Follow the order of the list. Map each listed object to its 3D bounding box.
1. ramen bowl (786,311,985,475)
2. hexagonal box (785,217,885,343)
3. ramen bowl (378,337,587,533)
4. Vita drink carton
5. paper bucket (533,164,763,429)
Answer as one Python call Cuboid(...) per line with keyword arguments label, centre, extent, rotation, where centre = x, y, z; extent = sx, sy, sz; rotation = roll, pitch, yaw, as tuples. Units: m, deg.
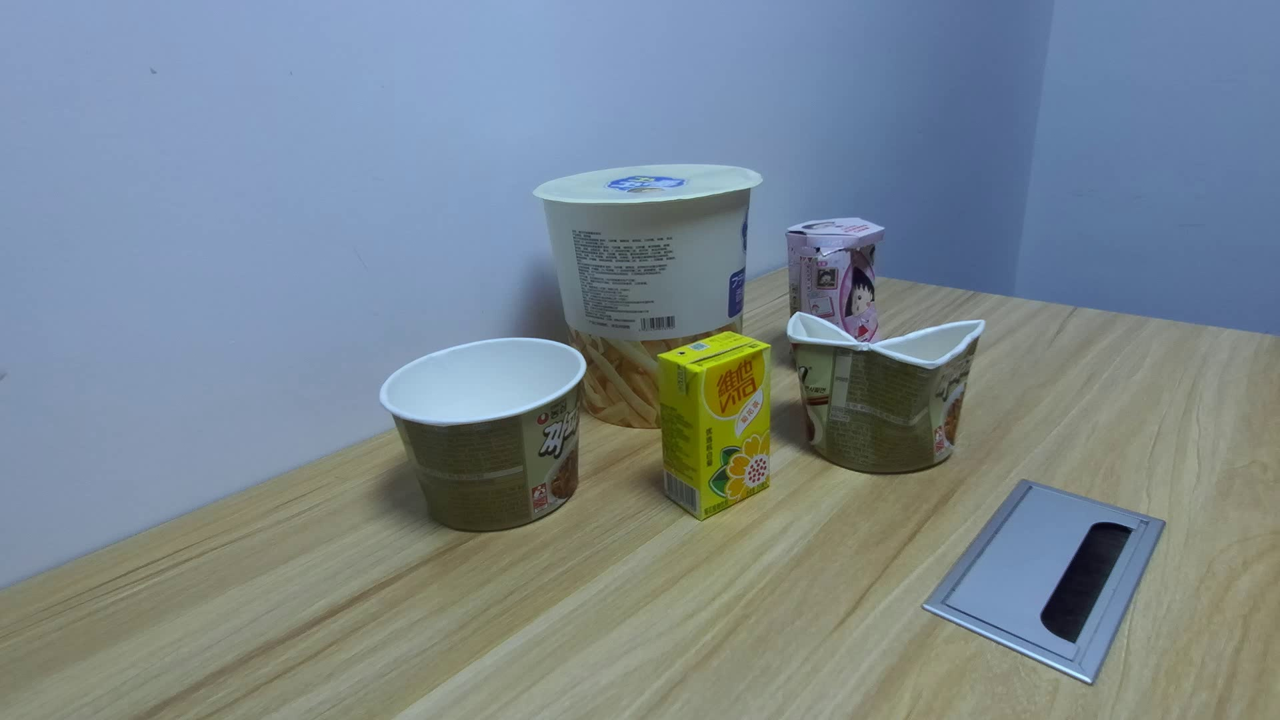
Cuboid(label="ramen bowl", centre=(0.176, 0.017, 0.536), extent=(0.127, 0.093, 0.112), rotation=(14, 29, 36))
Cuboid(label="hexagonal box", centre=(0.182, -0.061, 0.675), extent=(0.091, 0.134, 0.090), rotation=(-5, 19, -2))
Cuboid(label="ramen bowl", centre=(-0.104, 0.053, 0.507), extent=(0.140, 0.095, 0.140), rotation=(-3, 23, 1))
Cuboid(label="Vita drink carton", centre=(0.051, 0.042, 0.476), extent=(0.067, 0.109, 0.043), rotation=(-19, 27, -31))
Cuboid(label="paper bucket", centre=(0.013, -0.058, 0.618), extent=(0.198, 0.195, 0.198), rotation=(-3, 22, 2))
